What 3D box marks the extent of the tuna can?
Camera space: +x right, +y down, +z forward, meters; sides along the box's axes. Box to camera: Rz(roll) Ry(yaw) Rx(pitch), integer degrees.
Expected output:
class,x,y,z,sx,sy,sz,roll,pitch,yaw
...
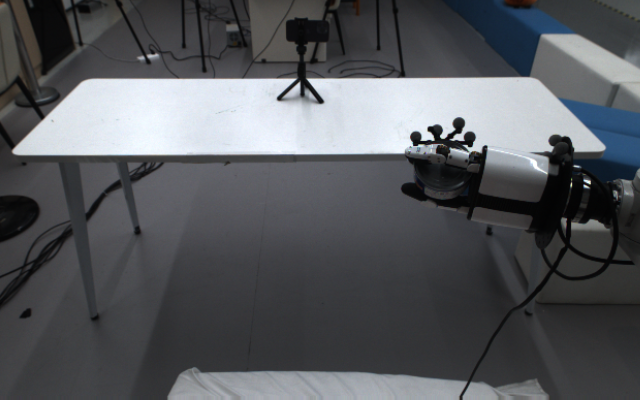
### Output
class,x,y,z,sx,sy,sz,roll,pitch,yaw
tuna can,0.181,-0.046,0.714,0.085,0.034,0.085,-4,61,7
